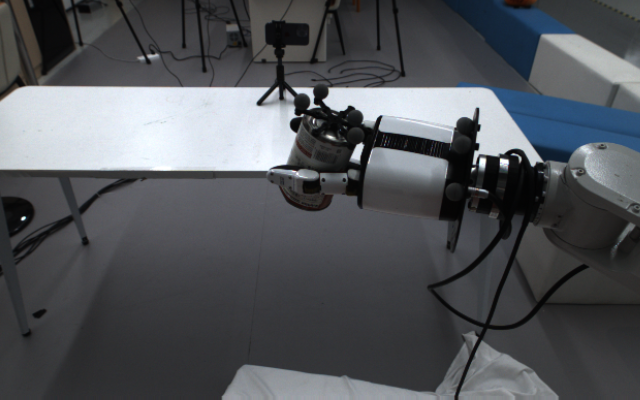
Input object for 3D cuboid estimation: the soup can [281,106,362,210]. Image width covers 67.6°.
[{"bbox_3d":[-0.001,-0.046,0.560,0.067,0.101,0.067,14,40,-12],"label":"soup can"}]
